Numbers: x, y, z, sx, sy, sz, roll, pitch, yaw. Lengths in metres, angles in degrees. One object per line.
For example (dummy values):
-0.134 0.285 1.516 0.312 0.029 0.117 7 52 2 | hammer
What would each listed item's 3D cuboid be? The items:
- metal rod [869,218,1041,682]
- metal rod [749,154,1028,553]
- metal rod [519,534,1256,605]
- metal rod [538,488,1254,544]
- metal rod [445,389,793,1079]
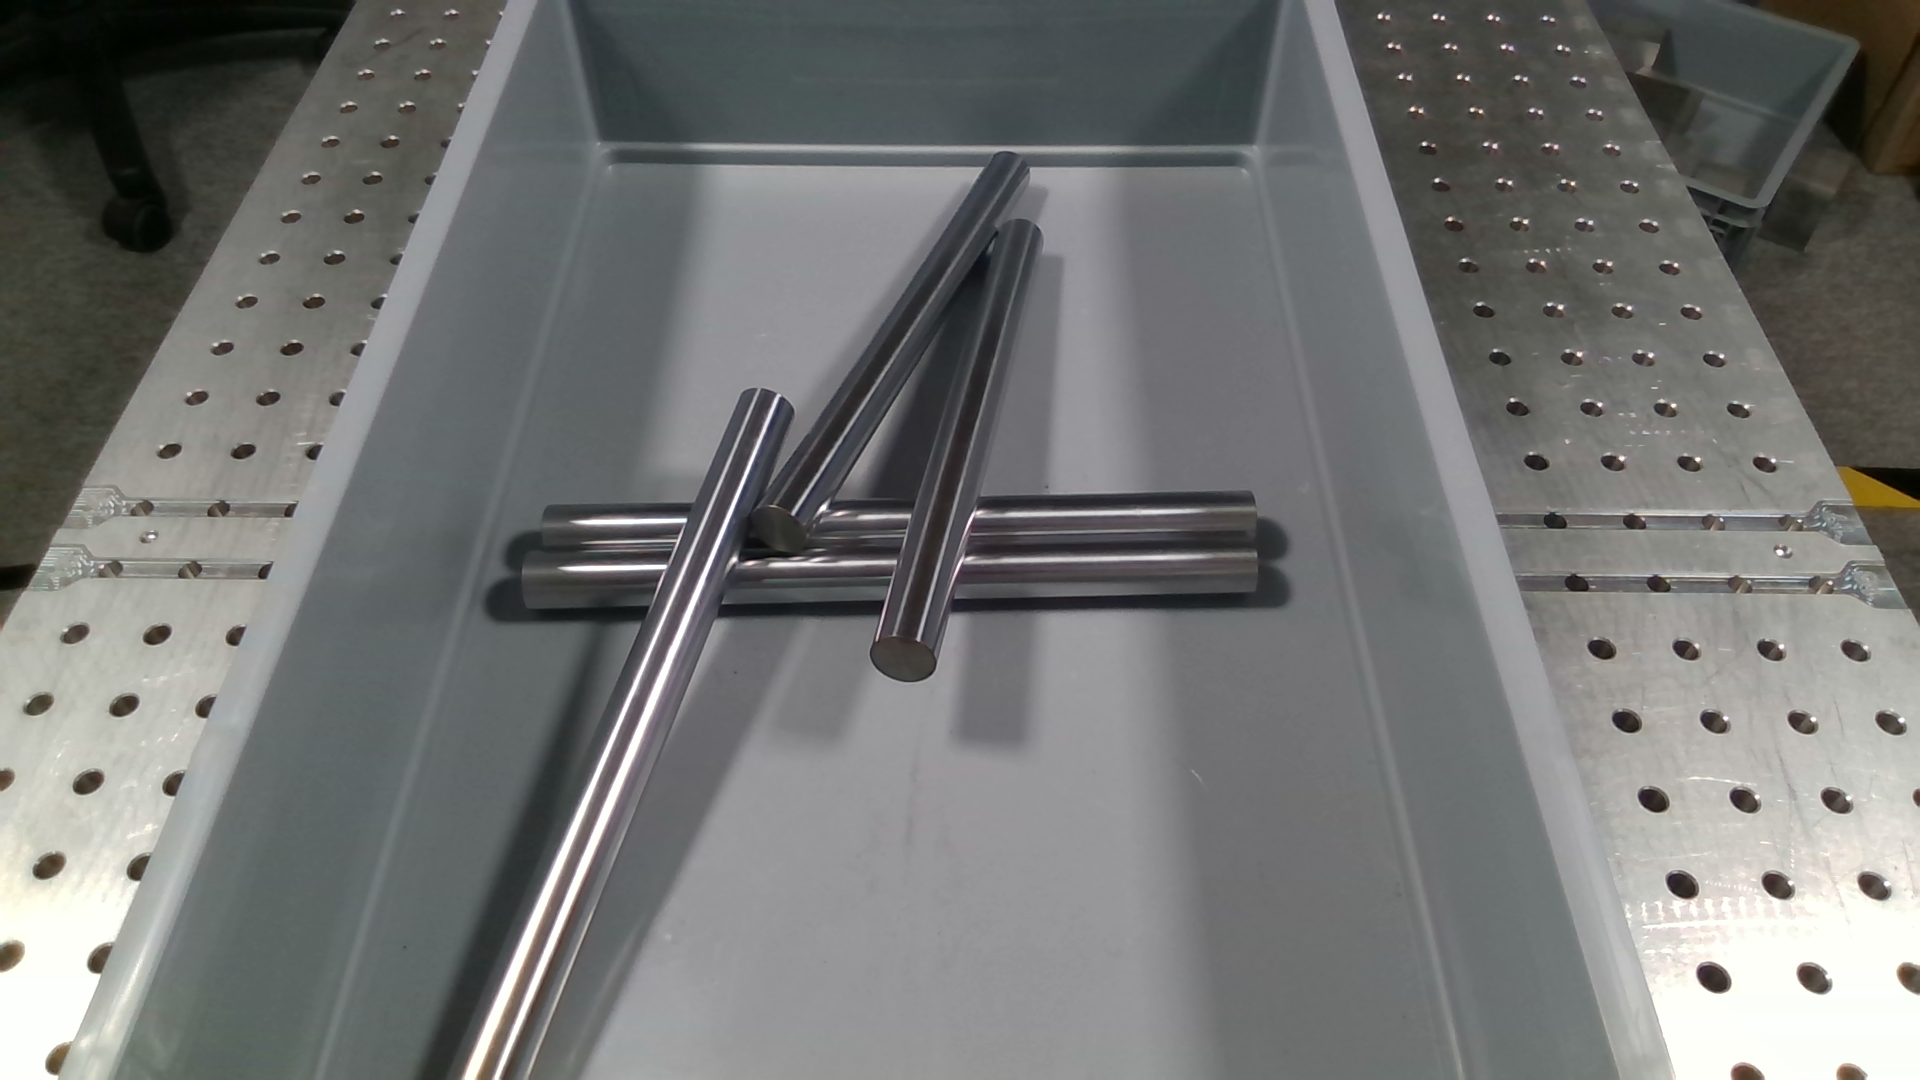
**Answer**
0.005 -0.057 0.608 0.025 0.025 0.299 8 43 6 | metal rod
-0.024 -0.103 0.655 0.025 0.025 0.299 15 46 12 | metal rod
-0.029 0.013 0.573 0.300 0.025 0.025 -1 50 -1 | metal rod
-0.027 -0.007 0.590 0.300 0.025 0.025 -1 50 -1 | metal rod
-0.119 0.064 0.510 0.025 0.025 0.299 10 56 9 | metal rod
